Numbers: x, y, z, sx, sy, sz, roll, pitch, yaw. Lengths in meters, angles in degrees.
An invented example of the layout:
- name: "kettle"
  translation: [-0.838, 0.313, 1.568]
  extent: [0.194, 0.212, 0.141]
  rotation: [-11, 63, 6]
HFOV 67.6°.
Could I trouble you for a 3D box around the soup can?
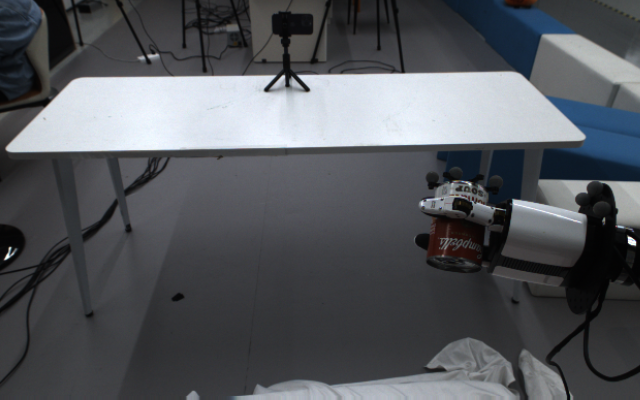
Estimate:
- name: "soup can"
  translation: [0.176, 0.034, 0.611]
  extent: [0.067, 0.067, 0.101]
  rotation: [9, 70, 10]
